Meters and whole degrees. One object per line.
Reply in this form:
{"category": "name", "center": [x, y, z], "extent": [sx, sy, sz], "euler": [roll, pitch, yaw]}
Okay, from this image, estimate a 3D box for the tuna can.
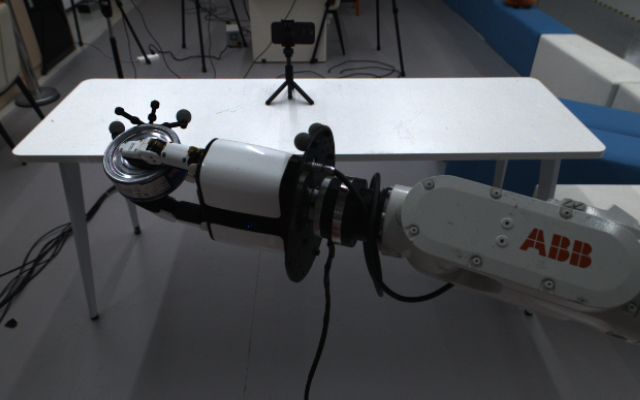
{"category": "tuna can", "center": [-0.187, -0.036, 0.532], "extent": [0.085, 0.034, 0.085], "euler": [-3, 60, 5]}
